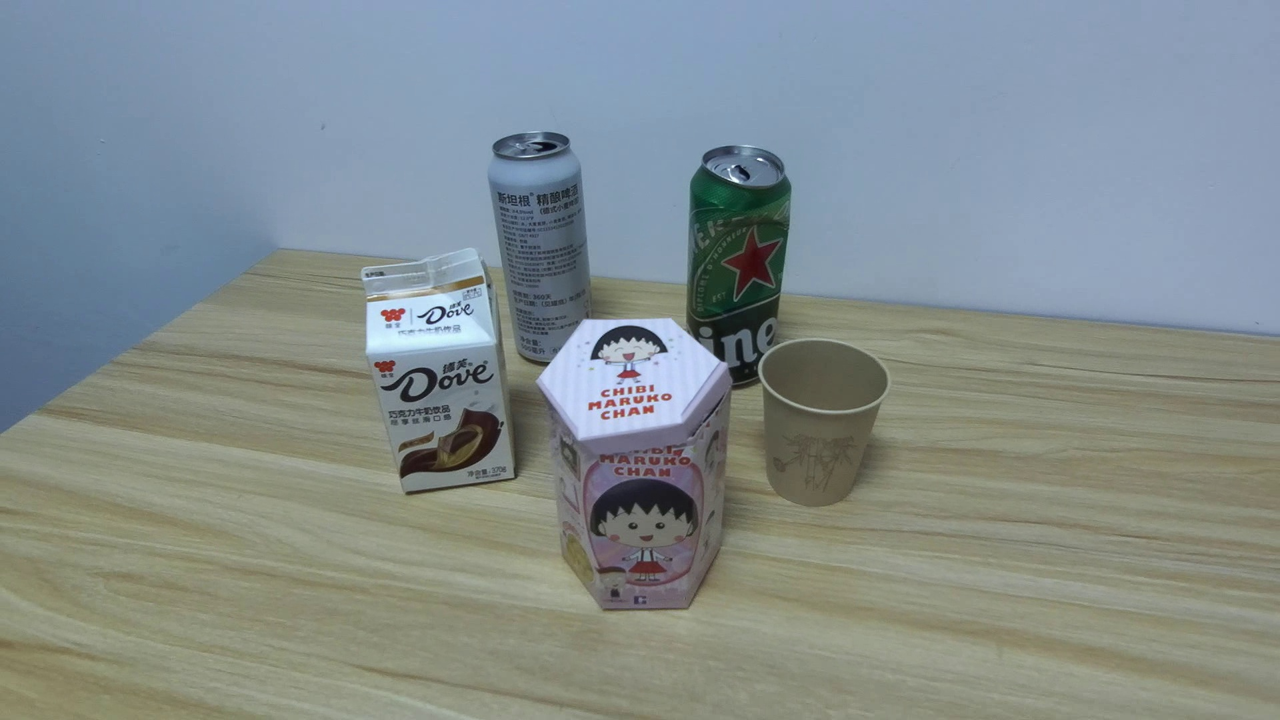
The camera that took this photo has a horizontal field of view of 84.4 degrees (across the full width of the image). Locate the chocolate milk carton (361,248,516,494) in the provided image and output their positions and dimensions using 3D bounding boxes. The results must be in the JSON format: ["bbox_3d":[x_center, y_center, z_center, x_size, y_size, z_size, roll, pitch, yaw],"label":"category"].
[{"bbox_3d":[-0.123,0.001,0.441,0.075,0.148,0.074,-6,34,-10],"label":"chocolate milk carton"}]

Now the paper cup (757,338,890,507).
[{"bbox_3d":[0.106,0.041,0.424,0.075,0.082,0.075,-2,35,2],"label":"paper cup"}]

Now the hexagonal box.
[{"bbox_3d":[0.000,0.056,0.368,0.092,0.135,0.085,-1,35,2],"label":"hexagonal box"}]

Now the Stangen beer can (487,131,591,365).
[{"bbox_3d":[-0.073,-0.081,0.536,0.067,0.171,0.067,-2,32,2],"label":"Stangen beer can"}]

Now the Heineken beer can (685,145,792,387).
[{"bbox_3d":[0.067,-0.060,0.498,0.068,0.168,0.069,7,38,8],"label":"Heineken beer can"}]
